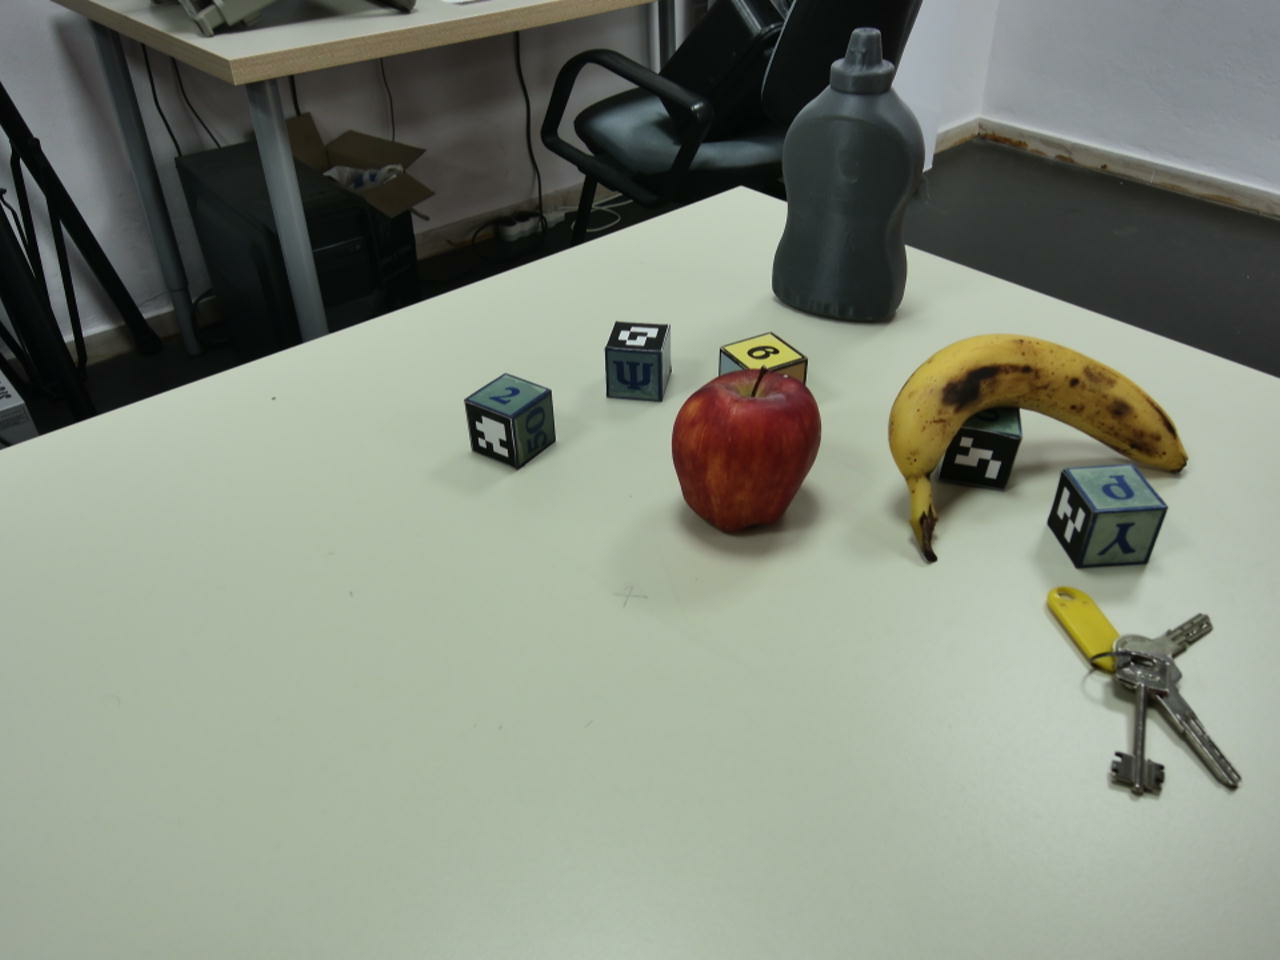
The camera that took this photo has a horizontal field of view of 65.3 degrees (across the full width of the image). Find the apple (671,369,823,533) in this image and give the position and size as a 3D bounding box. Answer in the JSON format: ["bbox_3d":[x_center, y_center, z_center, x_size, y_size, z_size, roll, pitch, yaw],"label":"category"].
[{"bbox_3d":[0.058,-0.022,0.536,0.083,0.090,0.083,-1,36,1],"label":"apple"}]
